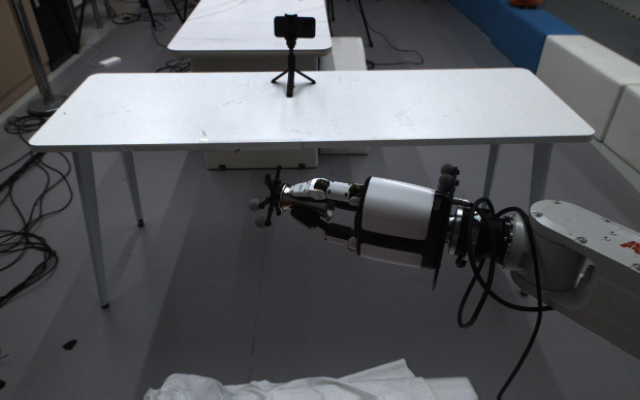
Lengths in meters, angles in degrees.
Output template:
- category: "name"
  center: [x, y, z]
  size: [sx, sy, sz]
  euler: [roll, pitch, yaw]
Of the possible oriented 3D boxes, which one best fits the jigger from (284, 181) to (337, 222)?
- category: "jigger"
  center: [-0.011, -0.003, 0.663]
  size: [0.071, 0.043, 0.043]
  euler: [9, 35, 16]
